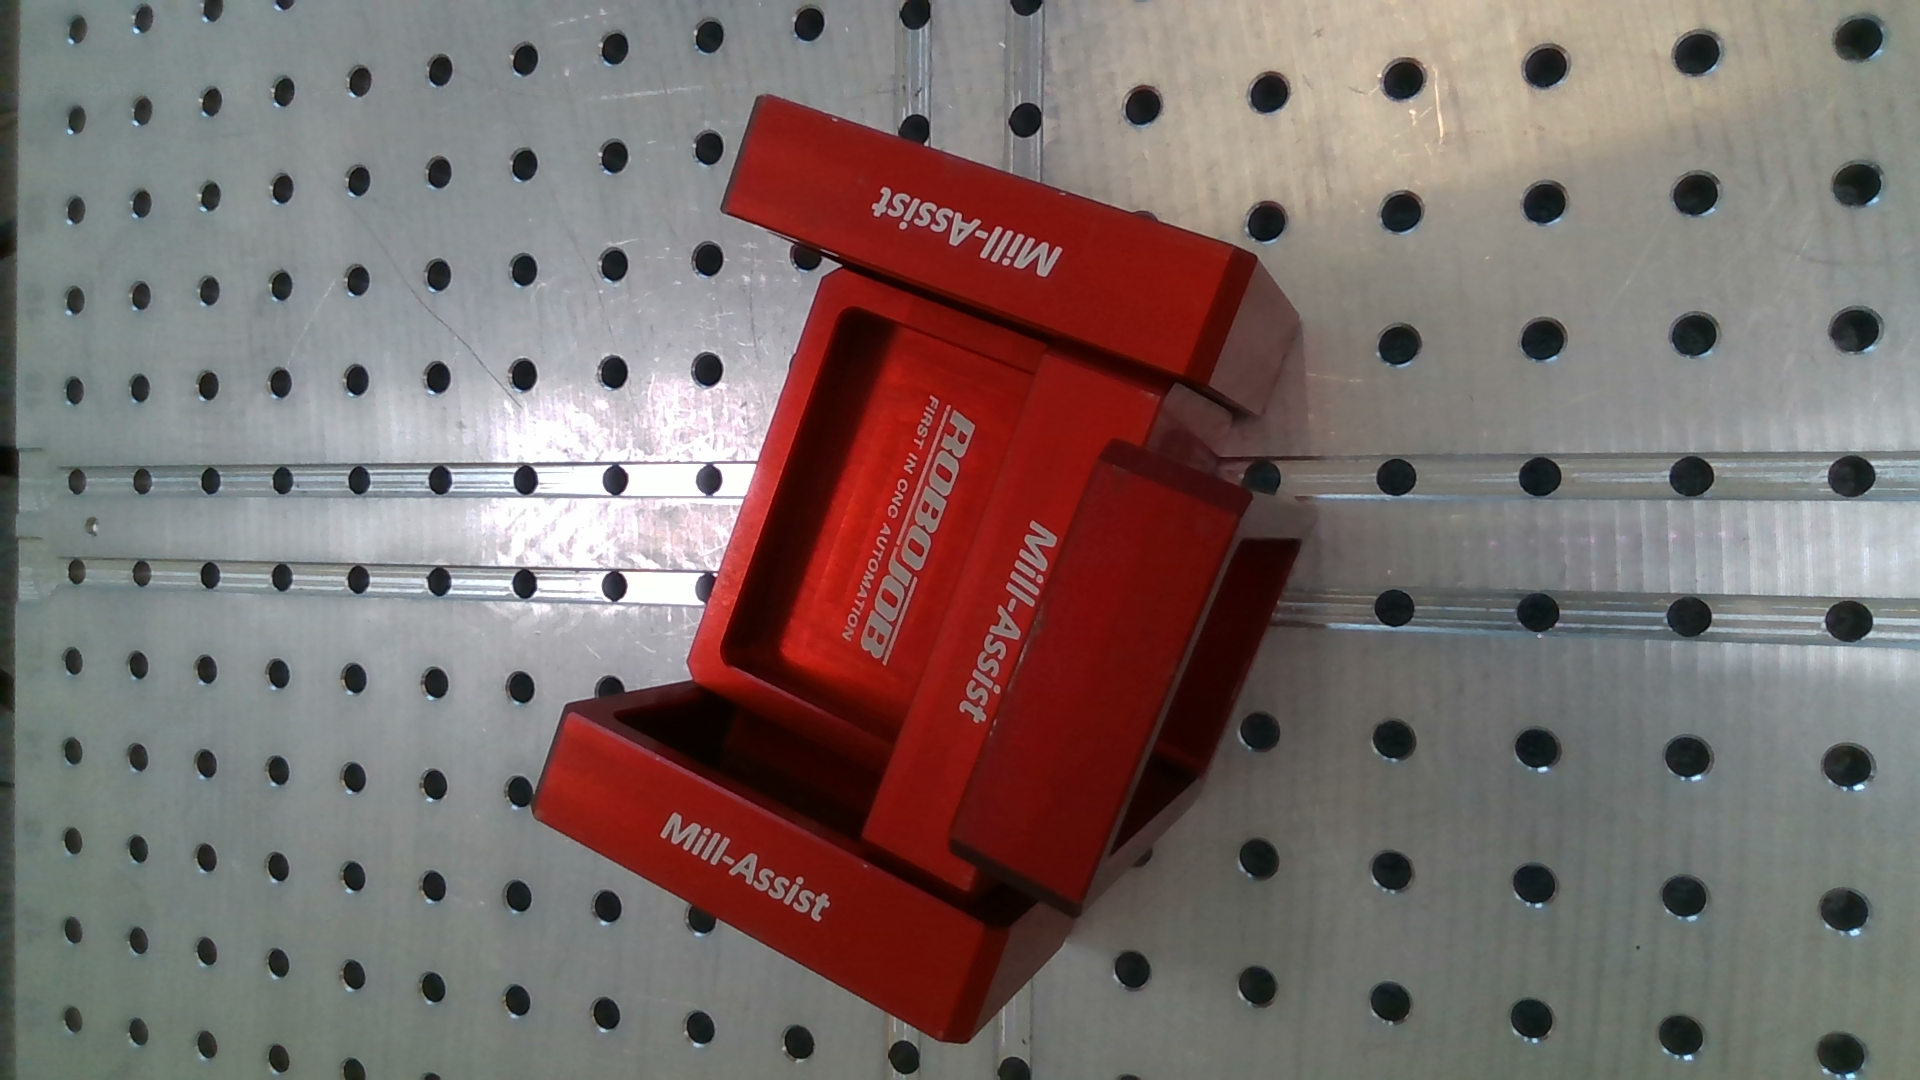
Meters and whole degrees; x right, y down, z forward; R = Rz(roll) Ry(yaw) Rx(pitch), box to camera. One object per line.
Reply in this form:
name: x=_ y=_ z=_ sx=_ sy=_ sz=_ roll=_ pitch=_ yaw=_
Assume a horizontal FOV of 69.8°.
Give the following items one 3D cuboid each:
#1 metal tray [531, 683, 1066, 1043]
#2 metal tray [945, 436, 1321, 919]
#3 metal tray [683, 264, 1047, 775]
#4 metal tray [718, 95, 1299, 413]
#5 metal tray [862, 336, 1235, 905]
metal tray: x=-0.037 y=0.079 z=0.375 sx=0.130 sy=0.090 sz=0.030 roll=23 pitch=98 yaw=19
metal tray: x=0.047 y=0.027 z=0.323 sx=0.030 sy=0.130 sz=0.090 roll=24 pitch=98 yaw=19
metal tray: x=-0.017 y=-0.003 z=0.399 sx=0.090 sy=0.030 sz=0.130 roll=23 pitch=98 yaw=19
metal tray: x=0.016 y=-0.071 z=0.355 sx=0.130 sy=0.090 sz=0.030 roll=23 pitch=98 yaw=18
metal tray: x=0.026 y=0.019 z=0.352 sx=0.030 sy=0.090 sz=0.130 roll=23 pitch=98 yaw=19
